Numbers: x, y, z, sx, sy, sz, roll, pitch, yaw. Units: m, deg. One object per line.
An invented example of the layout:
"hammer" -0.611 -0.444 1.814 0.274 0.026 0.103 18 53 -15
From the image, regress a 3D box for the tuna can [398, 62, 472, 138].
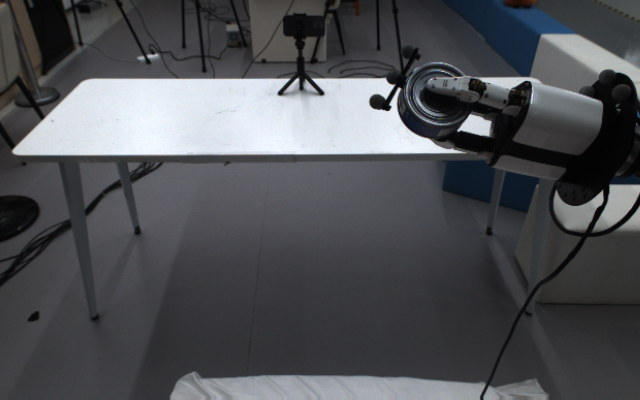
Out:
"tuna can" 0.140 -0.121 0.578 0.085 0.034 0.085 1 75 -5
